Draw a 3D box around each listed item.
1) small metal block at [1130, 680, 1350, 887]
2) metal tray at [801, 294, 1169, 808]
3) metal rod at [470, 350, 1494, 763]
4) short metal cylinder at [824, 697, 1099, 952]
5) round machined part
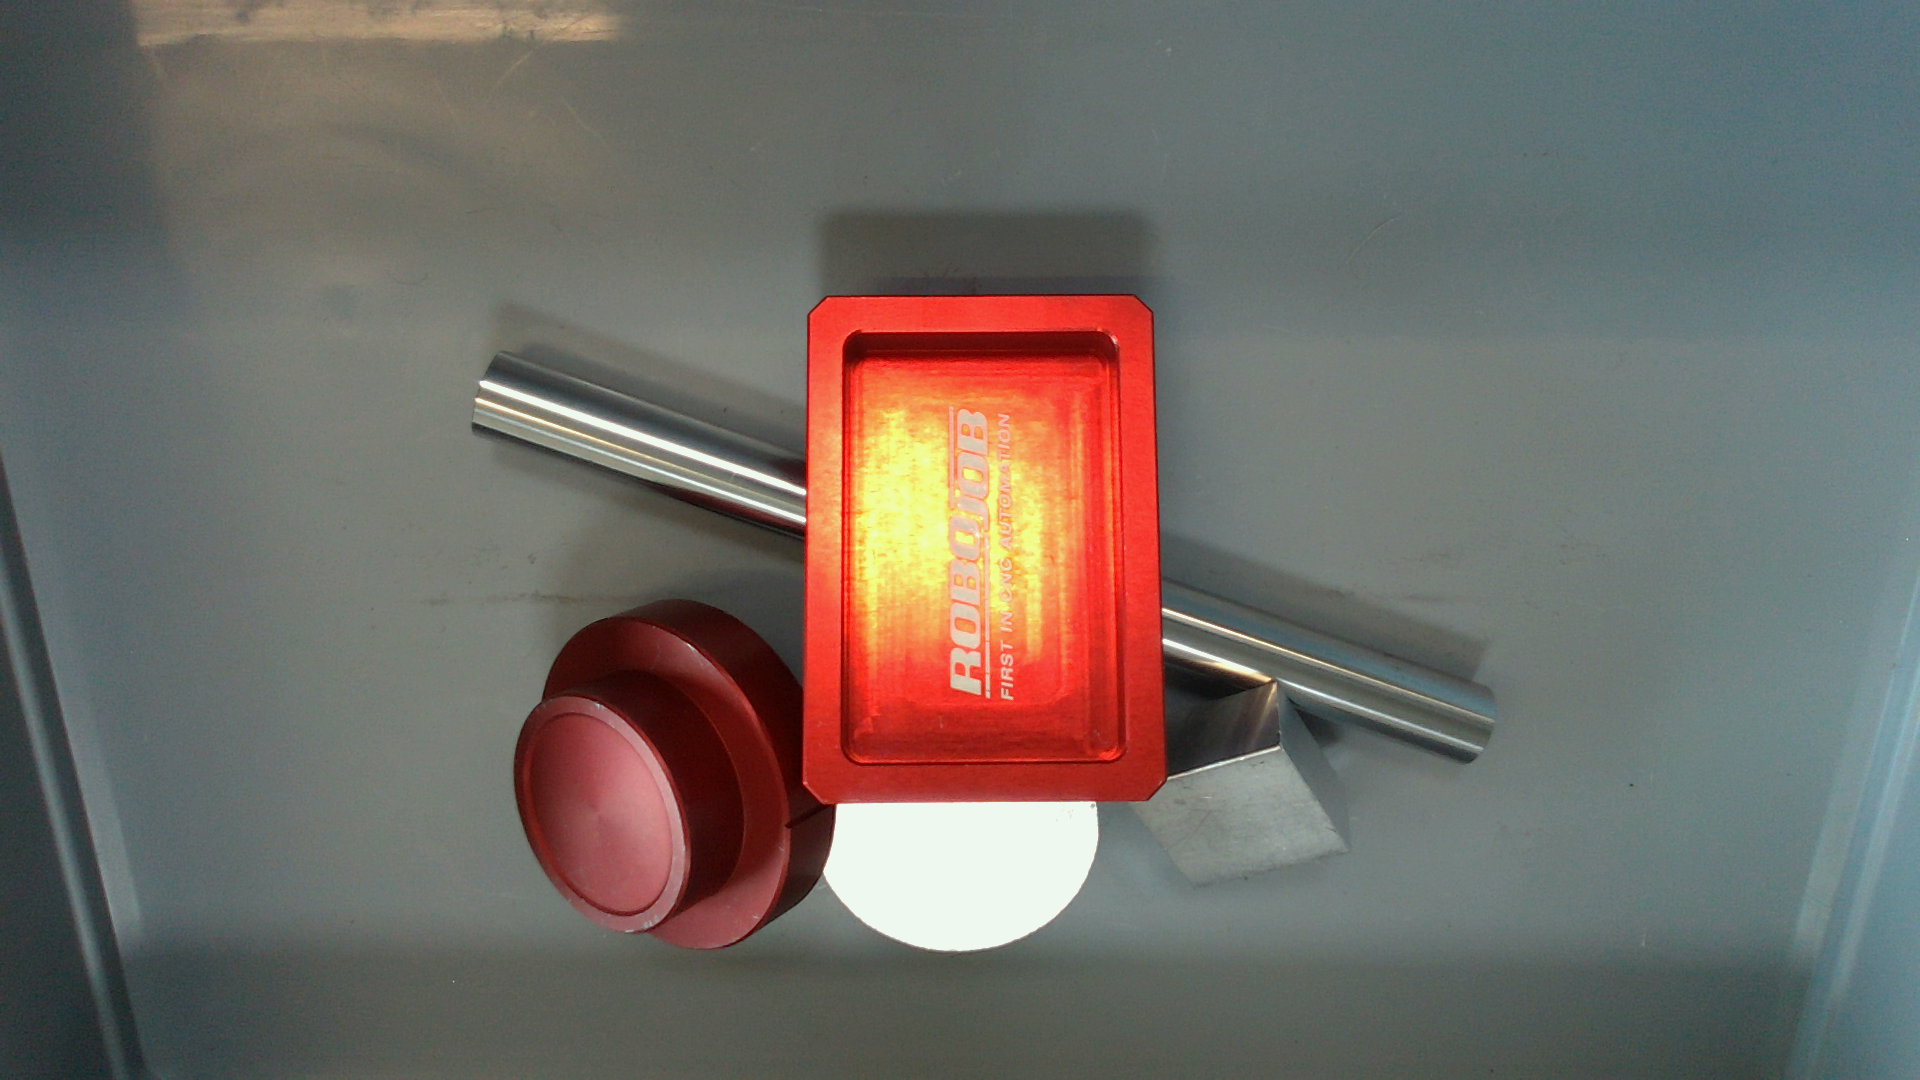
[{"bbox_3d":[0.081,0.073,0.408,0.050,0.025,0.050,-21,126,24],"label":"small metal block"},{"bbox_3d":[0.006,0.003,0.360,0.090,0.030,0.130,0,81,-1],"label":"metal tray"},{"bbox_3d":[0.012,0.007,0.395,0.300,0.025,0.025,19,109,-7],"label":"metal rod"},{"bbox_3d":[-0.001,0.073,0.406,0.080,0.050,0.080,0,110,0],"label":"short metal cylinder"},{"bbox_3d":[-0.086,0.069,0.384,0.098,0.042,0.098,9,108,31],"label":"round machined part"}]
